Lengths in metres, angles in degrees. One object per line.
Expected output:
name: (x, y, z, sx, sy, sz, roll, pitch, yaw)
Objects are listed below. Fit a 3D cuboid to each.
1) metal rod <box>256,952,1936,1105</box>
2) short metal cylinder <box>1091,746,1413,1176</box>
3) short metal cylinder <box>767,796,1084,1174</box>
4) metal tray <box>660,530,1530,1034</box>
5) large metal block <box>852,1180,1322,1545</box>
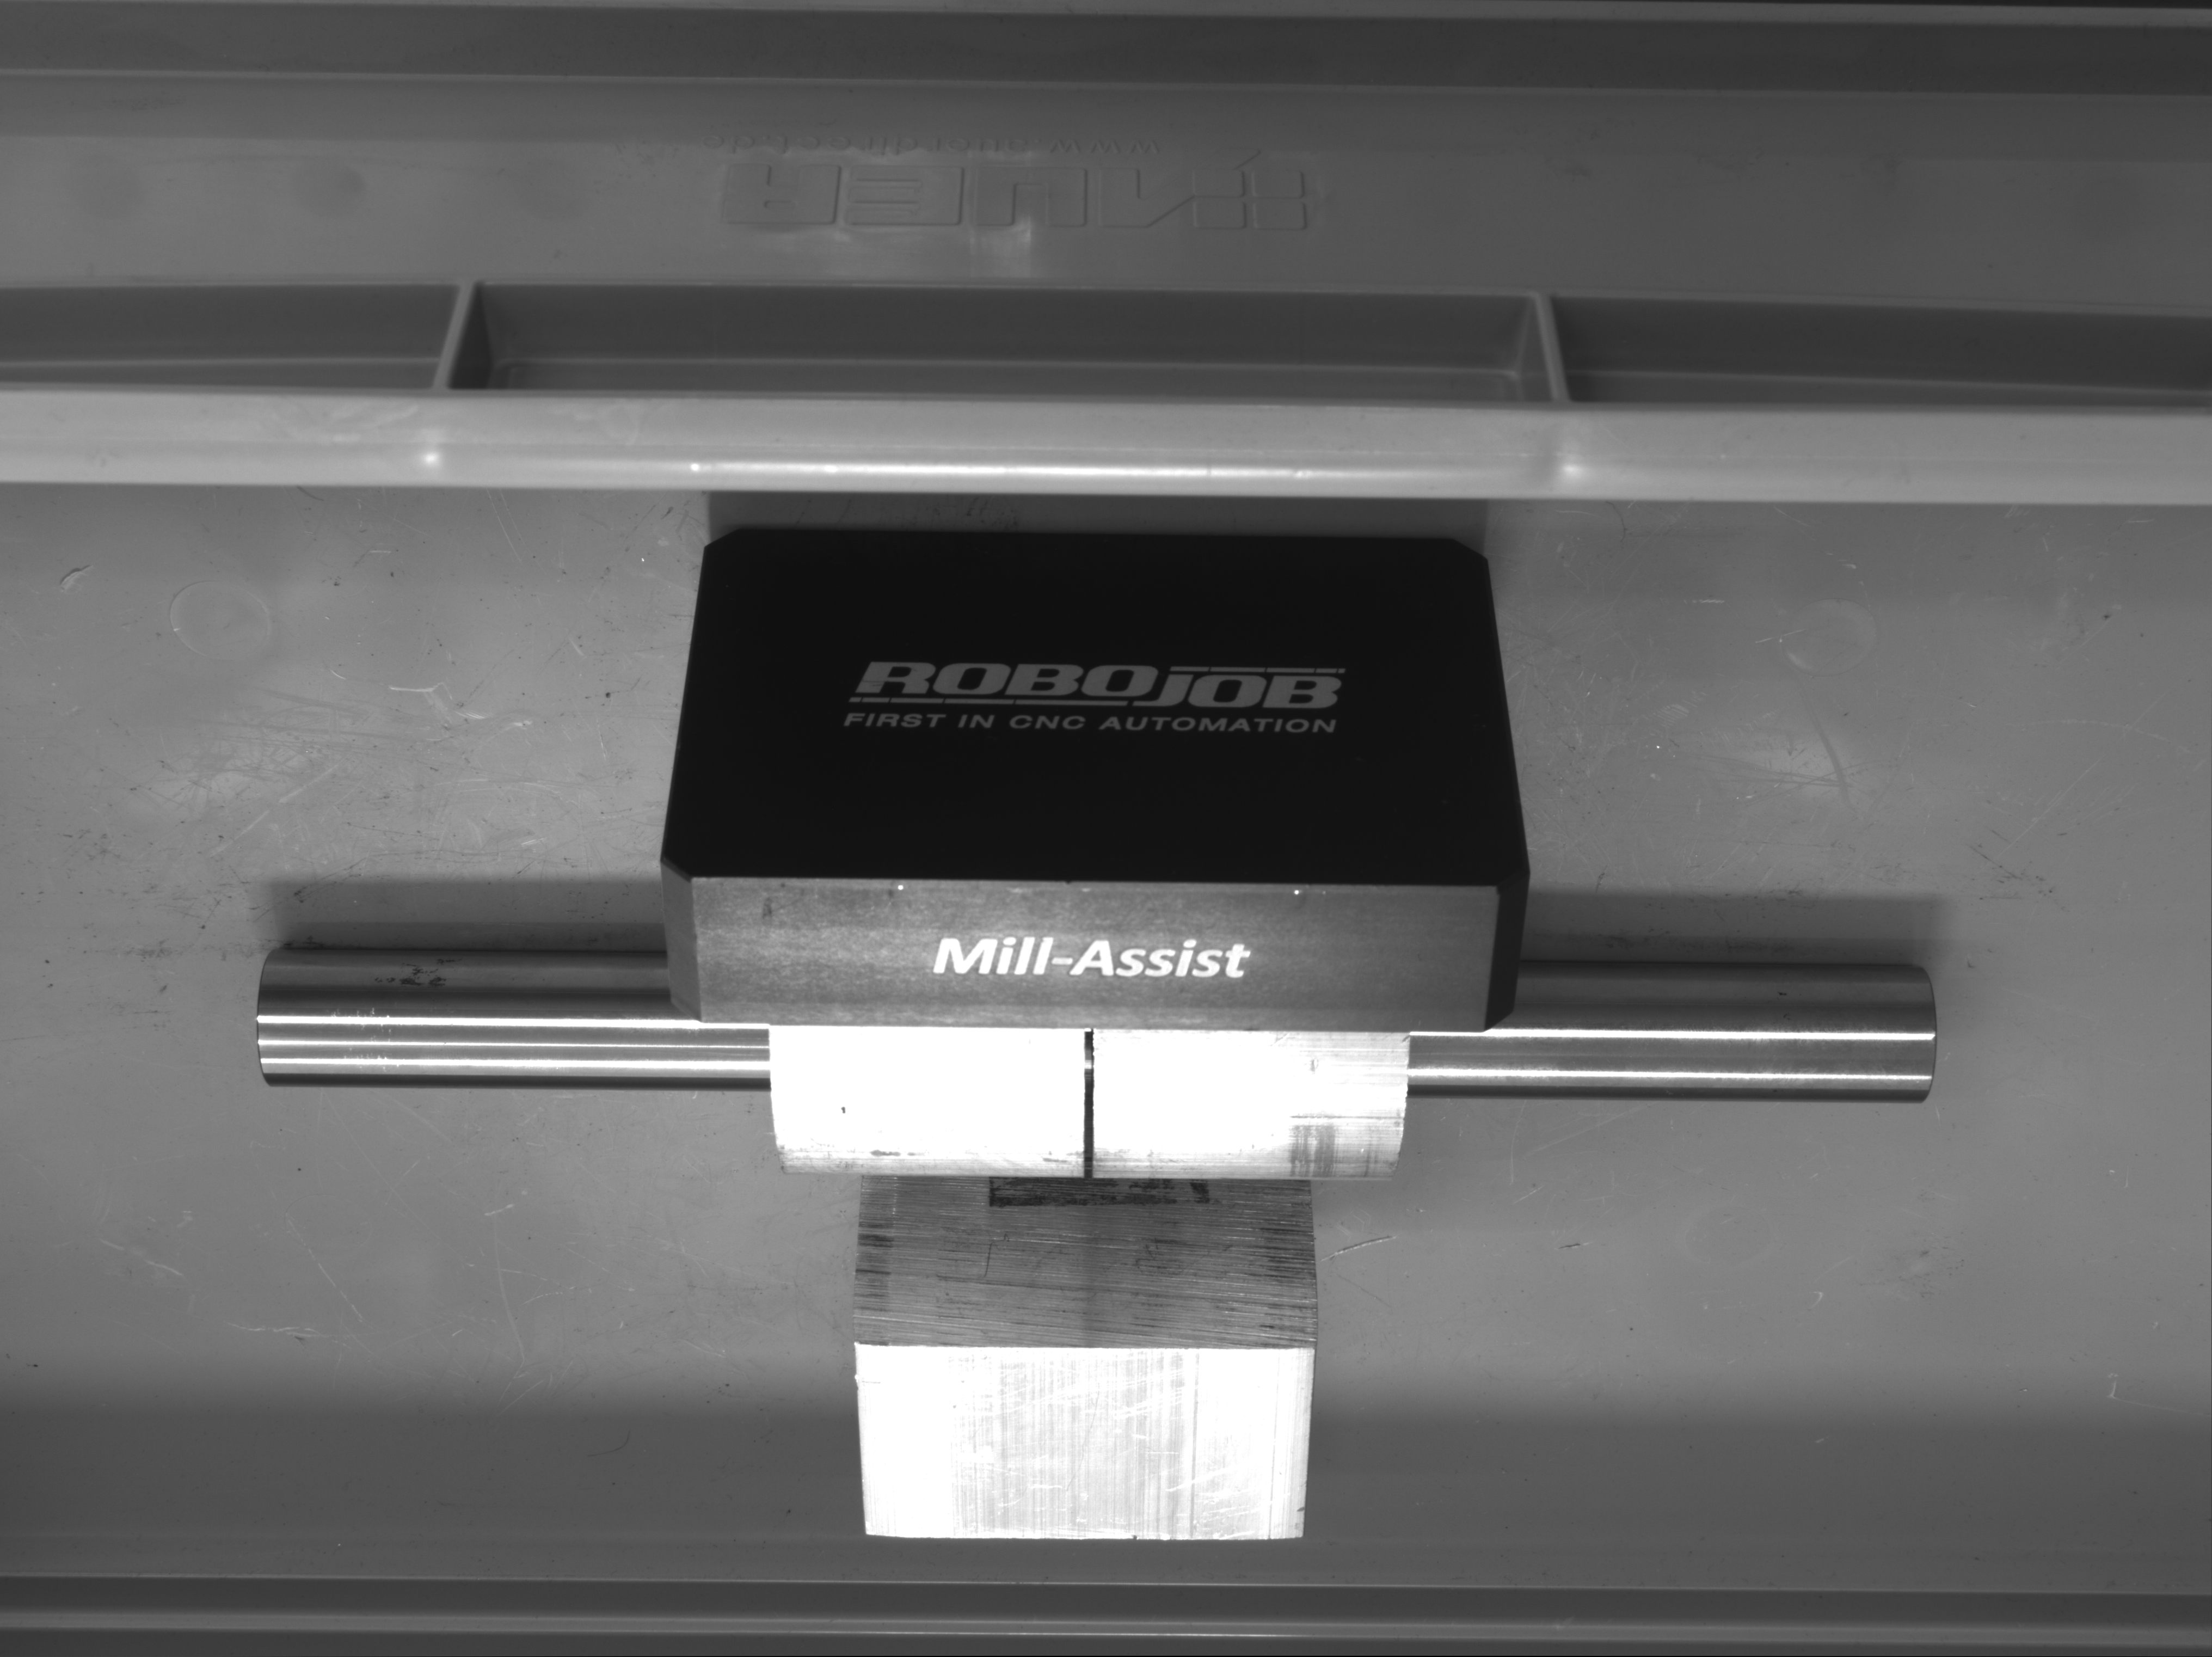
metal rod: (-0.001, 0.036, 0.668, 0.300, 0.025, 0.025, 1, 130, -1)
short metal cylinder: (0.023, 0.018, 0.619, 0.050, 0.080, 0.080, 1, 130, -1)
short metal cylinder: (-0.028, 0.018, 0.618, 0.050, 0.080, 0.080, 0, 130, 0)
metal tray: (-0.002, -0.009, 0.588, 0.130, 0.090, 0.030, 1, 130, -1)
large metal block: (-0.003, 0.083, 0.671, 0.080, 0.080, 0.050, 1, 130, 0)
